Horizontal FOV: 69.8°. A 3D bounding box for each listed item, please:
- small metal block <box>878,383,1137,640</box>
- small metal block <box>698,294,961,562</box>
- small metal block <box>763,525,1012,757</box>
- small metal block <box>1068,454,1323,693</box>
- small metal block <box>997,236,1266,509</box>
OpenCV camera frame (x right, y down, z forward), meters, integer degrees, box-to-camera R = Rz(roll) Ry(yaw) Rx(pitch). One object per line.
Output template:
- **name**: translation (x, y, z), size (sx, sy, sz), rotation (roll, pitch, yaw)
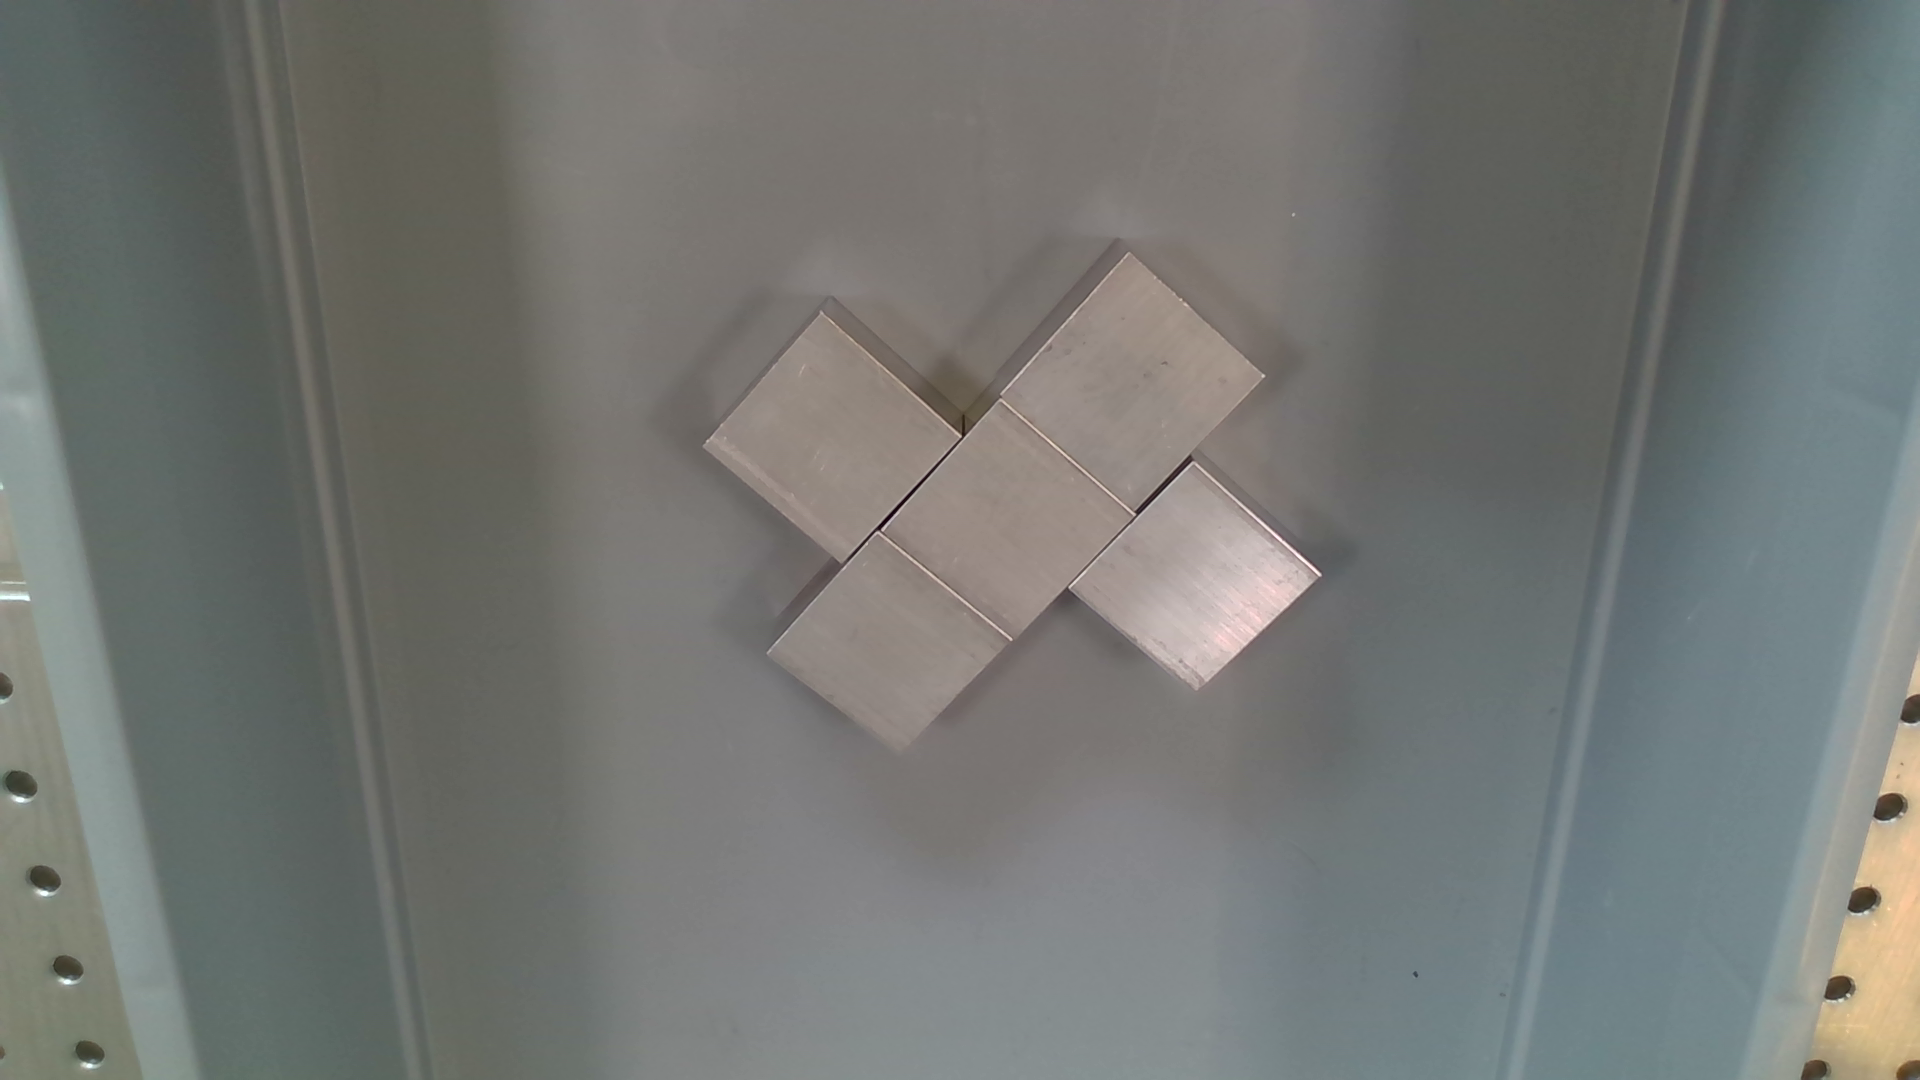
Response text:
- **small metal block**: translation (0.013, -0.009, 0.388), size (0.050, 0.025, 0.050), rotation (39, 105, -13)
- **small metal block**: translation (-0.035, -0.031, 0.381), size (0.050, 0.025, 0.050), rotation (41, 105, -13)
- **small metal block**: translation (-0.020, 0.026, 0.401), size (0.050, 0.025, 0.050), rotation (39, 105, -13)
- **small metal block**: translation (0.065, 0.007, 0.394), size (0.050, 0.025, 0.050), rotation (40, 105, -14)
- **small metal block**: translation (0.045, -0.046, 0.375), size (0.050, 0.025, 0.050), rotation (39, 105, -13)
